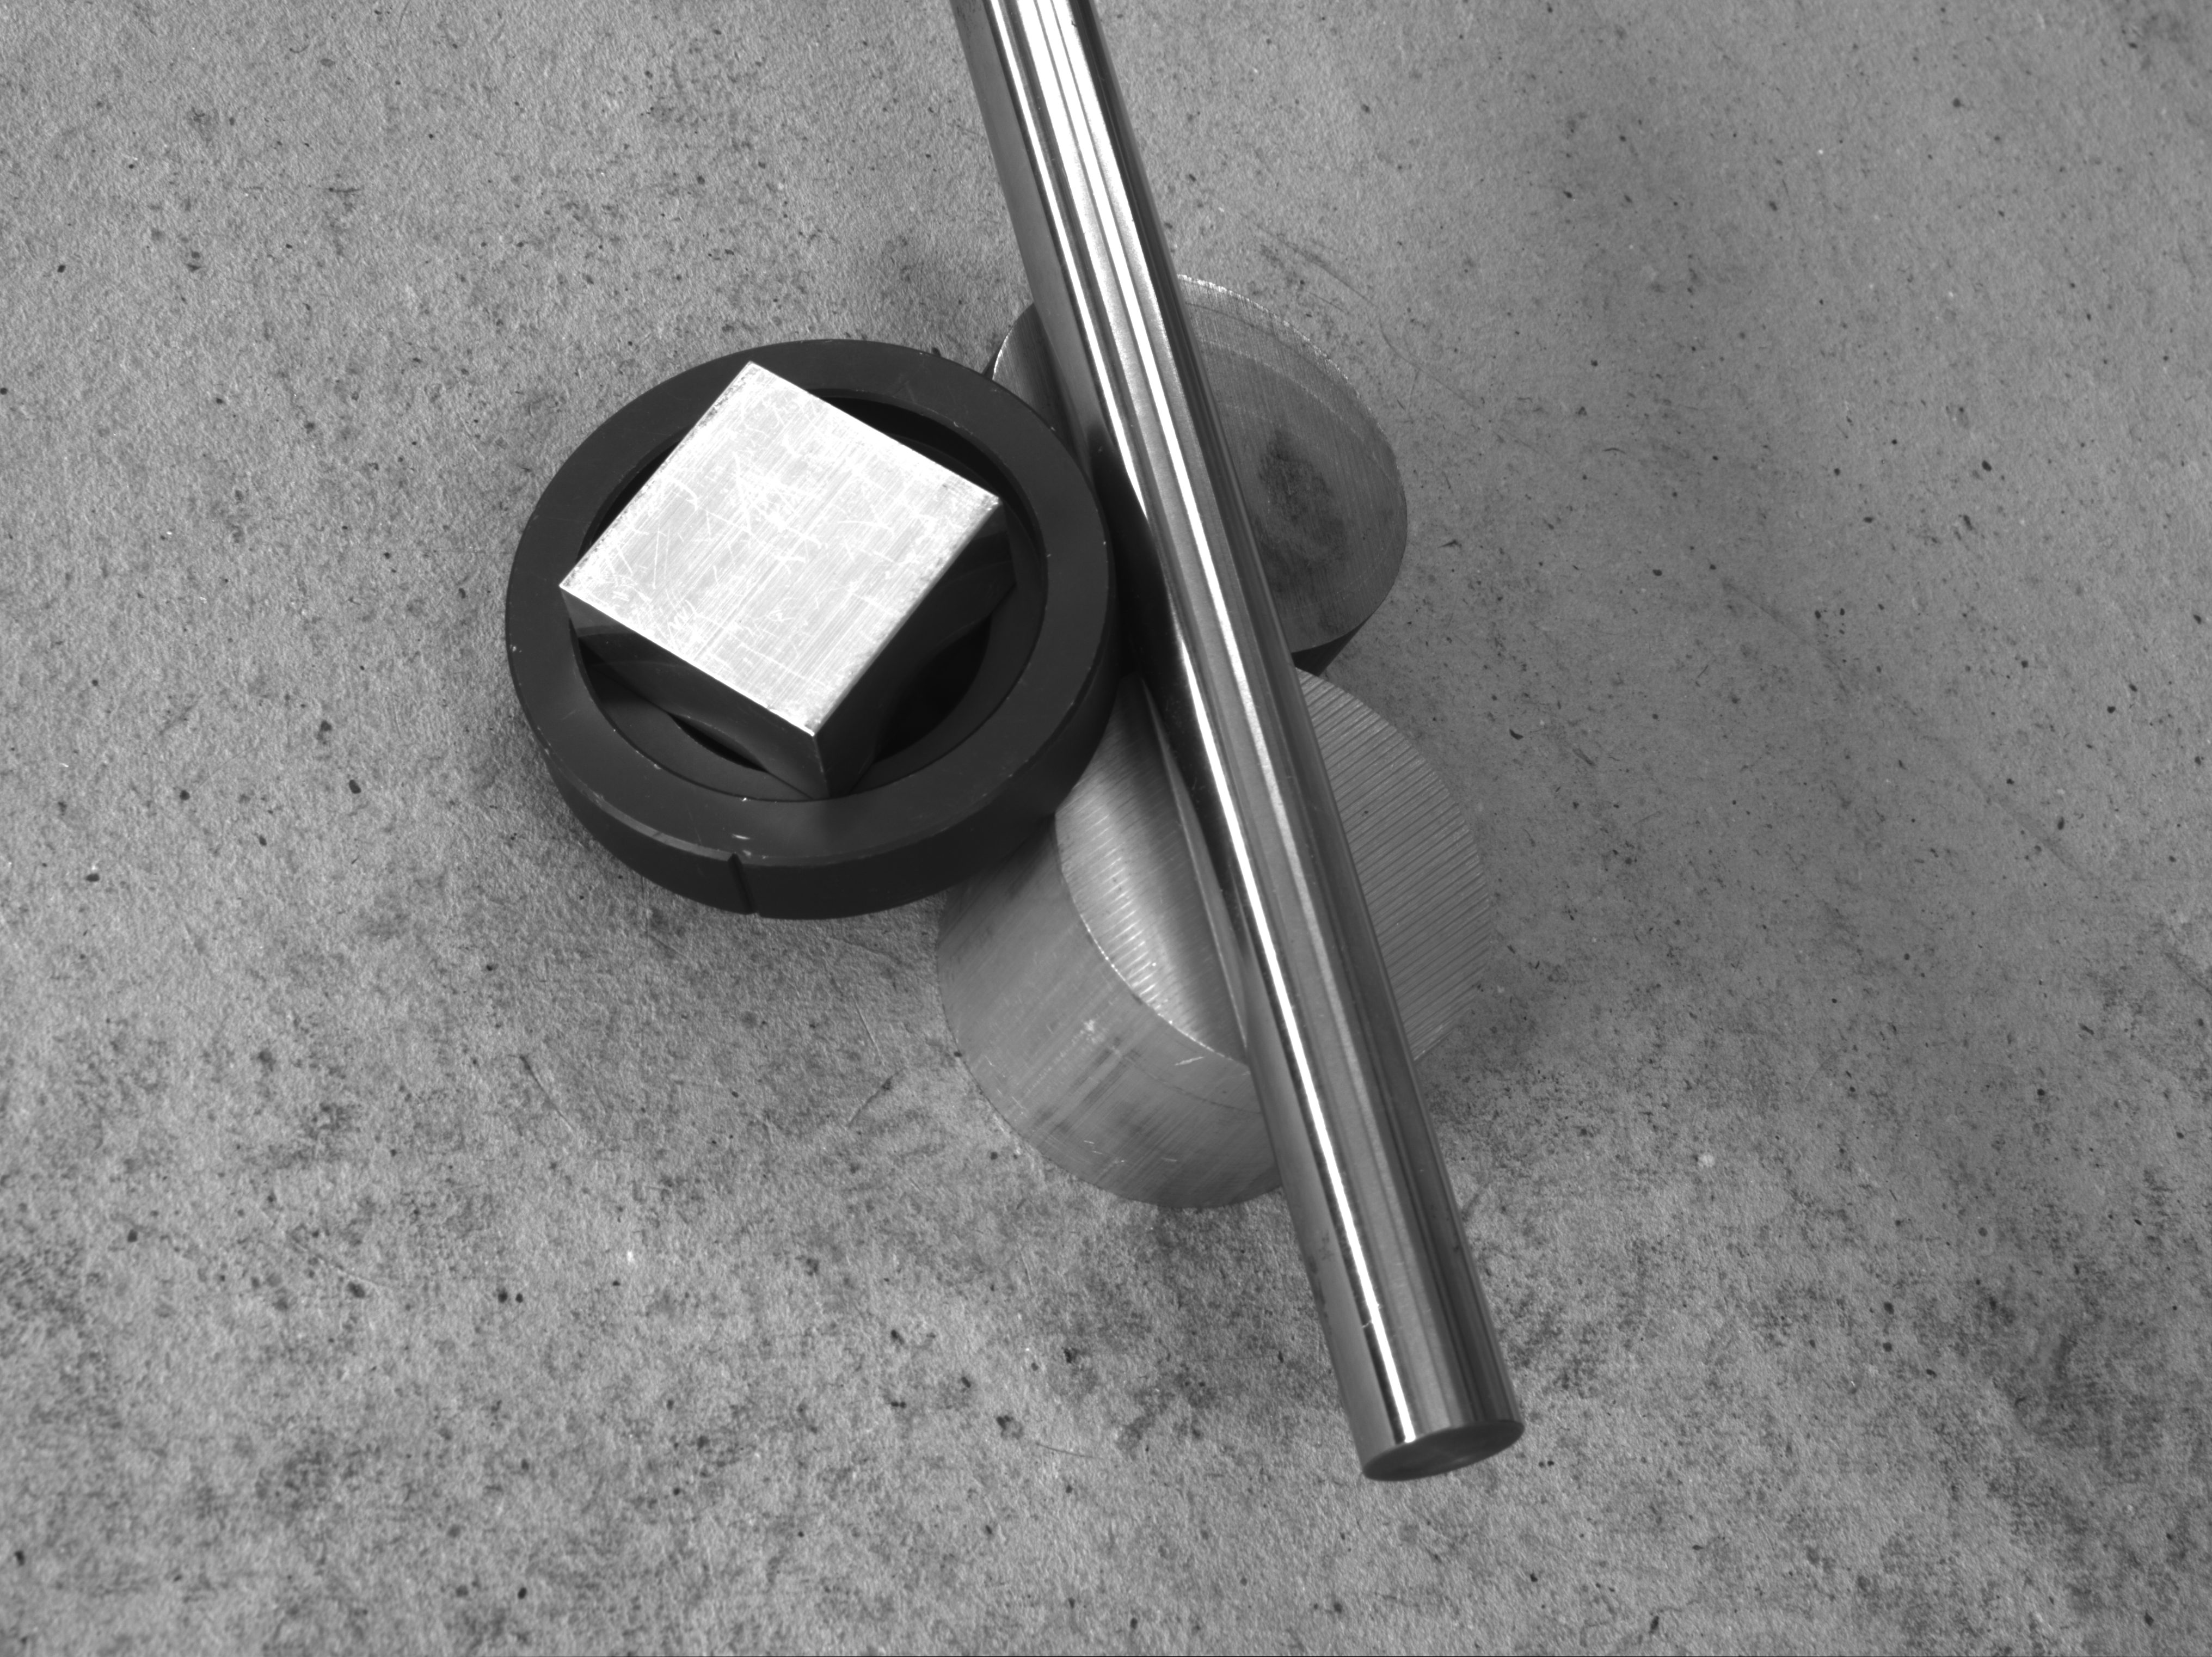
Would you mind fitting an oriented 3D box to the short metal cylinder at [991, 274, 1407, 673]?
[{"bbox_3d":[0.007,-0.053,0.660,0.080,0.050,0.080,13,56,-21],"label":"short metal cylinder"}]

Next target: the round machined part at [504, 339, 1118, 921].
[{"bbox_3d":[-0.046,-0.029,0.605,0.098,0.042,0.098,-2,63,4],"label":"round machined part"}]

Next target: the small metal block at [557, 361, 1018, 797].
[{"bbox_3d":[-0.050,-0.039,0.585,0.050,0.025,0.050,30,69,18],"label":"small metal block"}]

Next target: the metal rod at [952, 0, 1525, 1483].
[{"bbox_3d":[0.015,-0.039,0.608,0.025,0.025,0.300,-1,62,-28],"label":"metal rod"}]

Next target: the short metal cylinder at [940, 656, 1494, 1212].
[{"bbox_3d":[0.018,0.018,0.622,0.080,0.050,0.080,14,55,-20],"label":"short metal cylinder"}]
